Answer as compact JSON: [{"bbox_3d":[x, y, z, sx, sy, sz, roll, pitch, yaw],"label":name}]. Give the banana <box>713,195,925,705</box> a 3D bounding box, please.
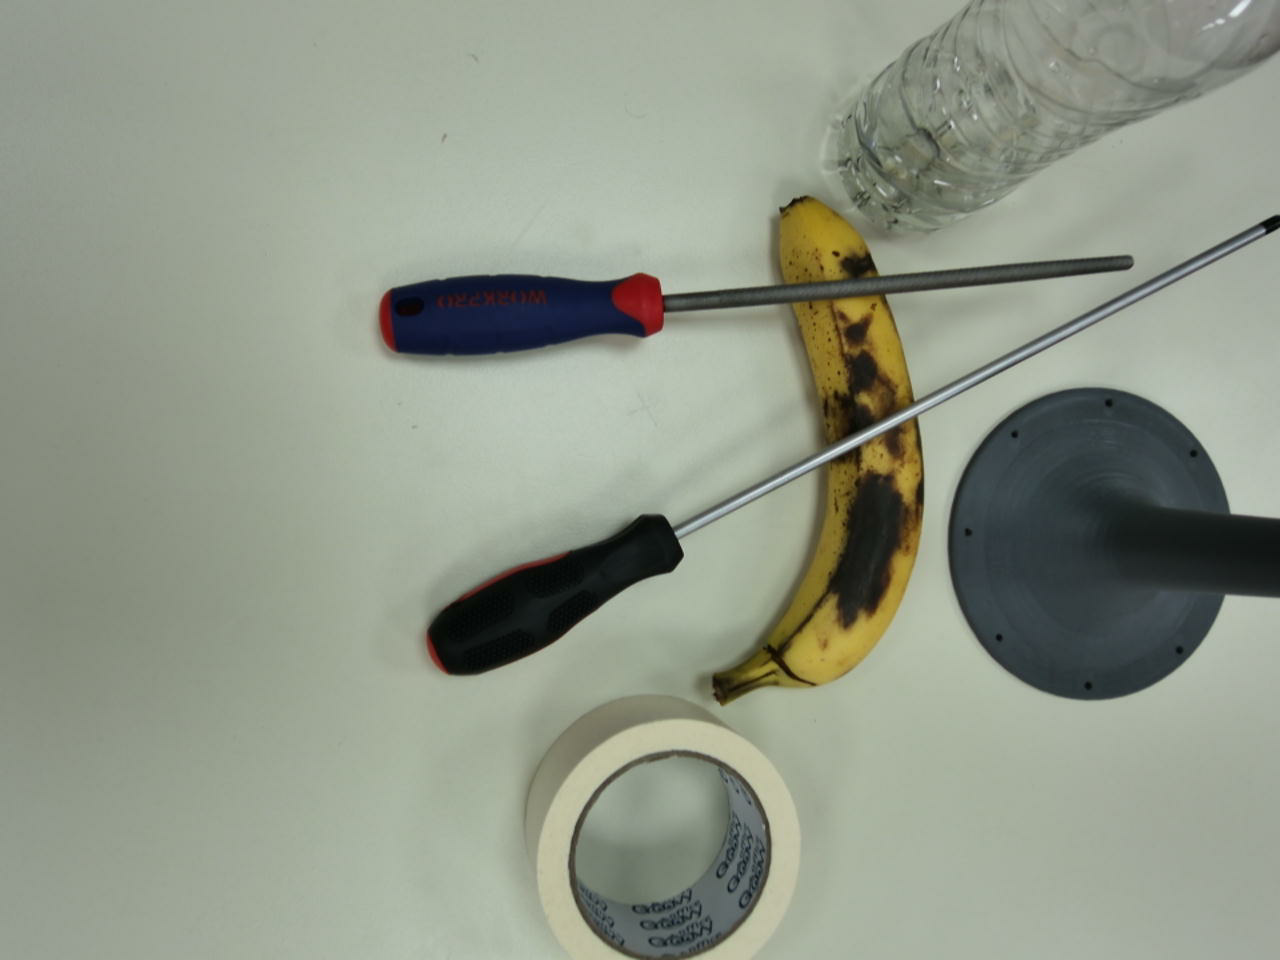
[{"bbox_3d":[0.087,-0.009,0.436,0.084,0.037,0.222,10,88,-11],"label":"banana"}]
